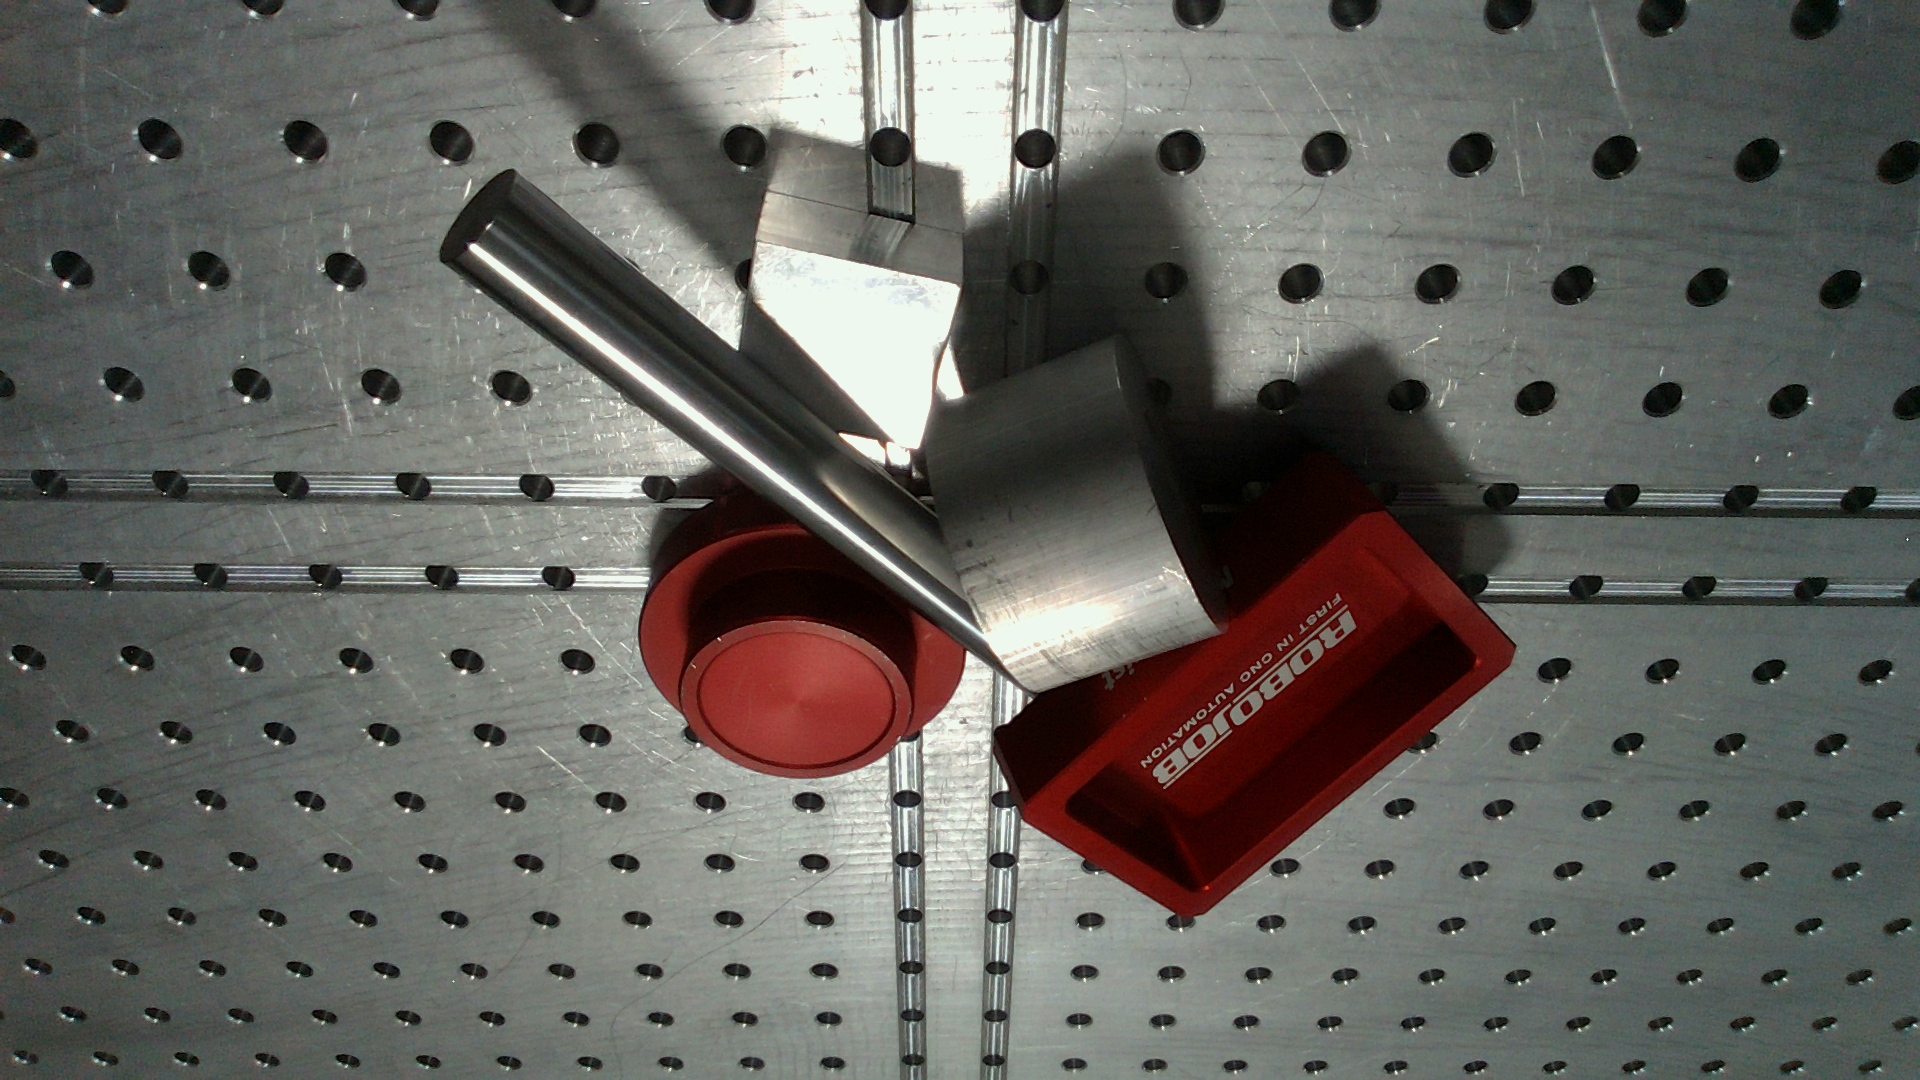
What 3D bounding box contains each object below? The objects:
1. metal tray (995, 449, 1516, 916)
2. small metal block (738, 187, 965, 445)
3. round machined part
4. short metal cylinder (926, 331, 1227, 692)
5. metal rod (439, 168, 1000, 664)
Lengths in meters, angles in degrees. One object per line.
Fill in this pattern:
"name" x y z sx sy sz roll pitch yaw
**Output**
"metal tray" 0.086 0.046 0.402 0.130 0.030 0.090 -44 127 13
"small metal block" -0.029 -0.056 0.347 0.050 0.025 0.050 10 129 -9
"round machined part" -0.047 0.034 0.410 0.098 0.042 0.098 0 130 0
"short metal cylinder" 0.031 -0.007 0.352 0.050 0.080 0.080 -20 127 16
"metal rod" -0.006 0.007 0.377 0.025 0.025 0.301 -32 131 24
